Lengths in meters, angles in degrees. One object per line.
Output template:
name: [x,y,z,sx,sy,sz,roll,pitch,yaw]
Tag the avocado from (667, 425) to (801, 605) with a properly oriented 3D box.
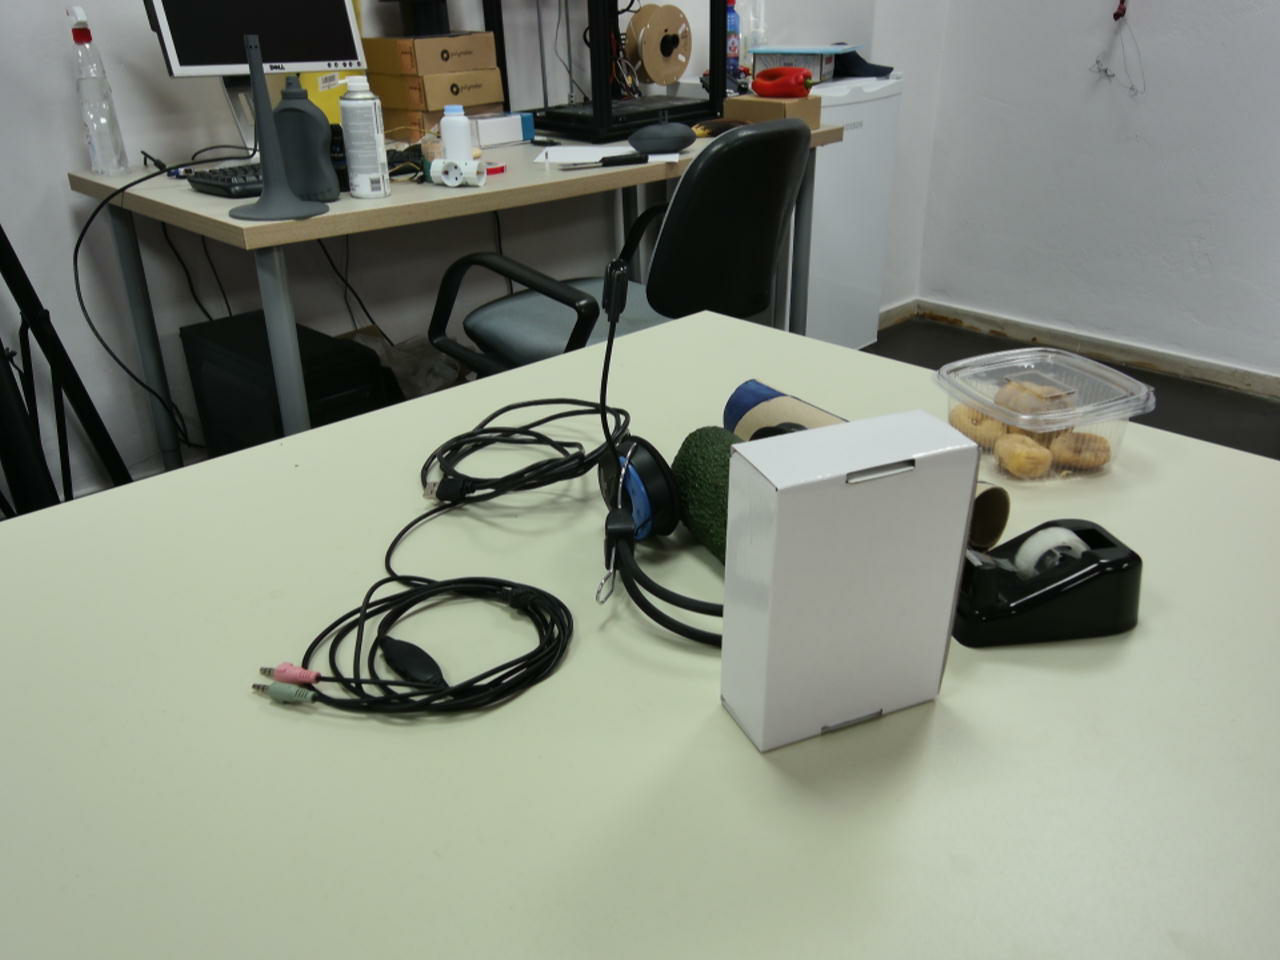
avocado: [0.062,0.014,0.593,0.063,0.067,0.141,-12,27,-24]
